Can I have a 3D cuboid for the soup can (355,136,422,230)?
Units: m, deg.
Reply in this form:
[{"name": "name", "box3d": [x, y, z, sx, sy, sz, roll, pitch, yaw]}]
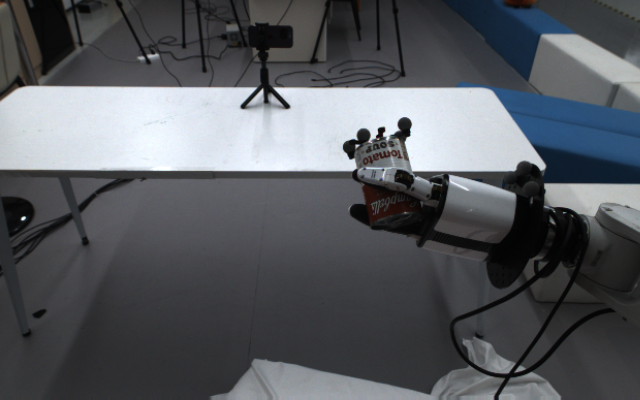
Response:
[{"name": "soup can", "box3d": [0.087, -0.021, 0.607, 0.067, 0.067, 0.101, -8, 74, -14]}]
